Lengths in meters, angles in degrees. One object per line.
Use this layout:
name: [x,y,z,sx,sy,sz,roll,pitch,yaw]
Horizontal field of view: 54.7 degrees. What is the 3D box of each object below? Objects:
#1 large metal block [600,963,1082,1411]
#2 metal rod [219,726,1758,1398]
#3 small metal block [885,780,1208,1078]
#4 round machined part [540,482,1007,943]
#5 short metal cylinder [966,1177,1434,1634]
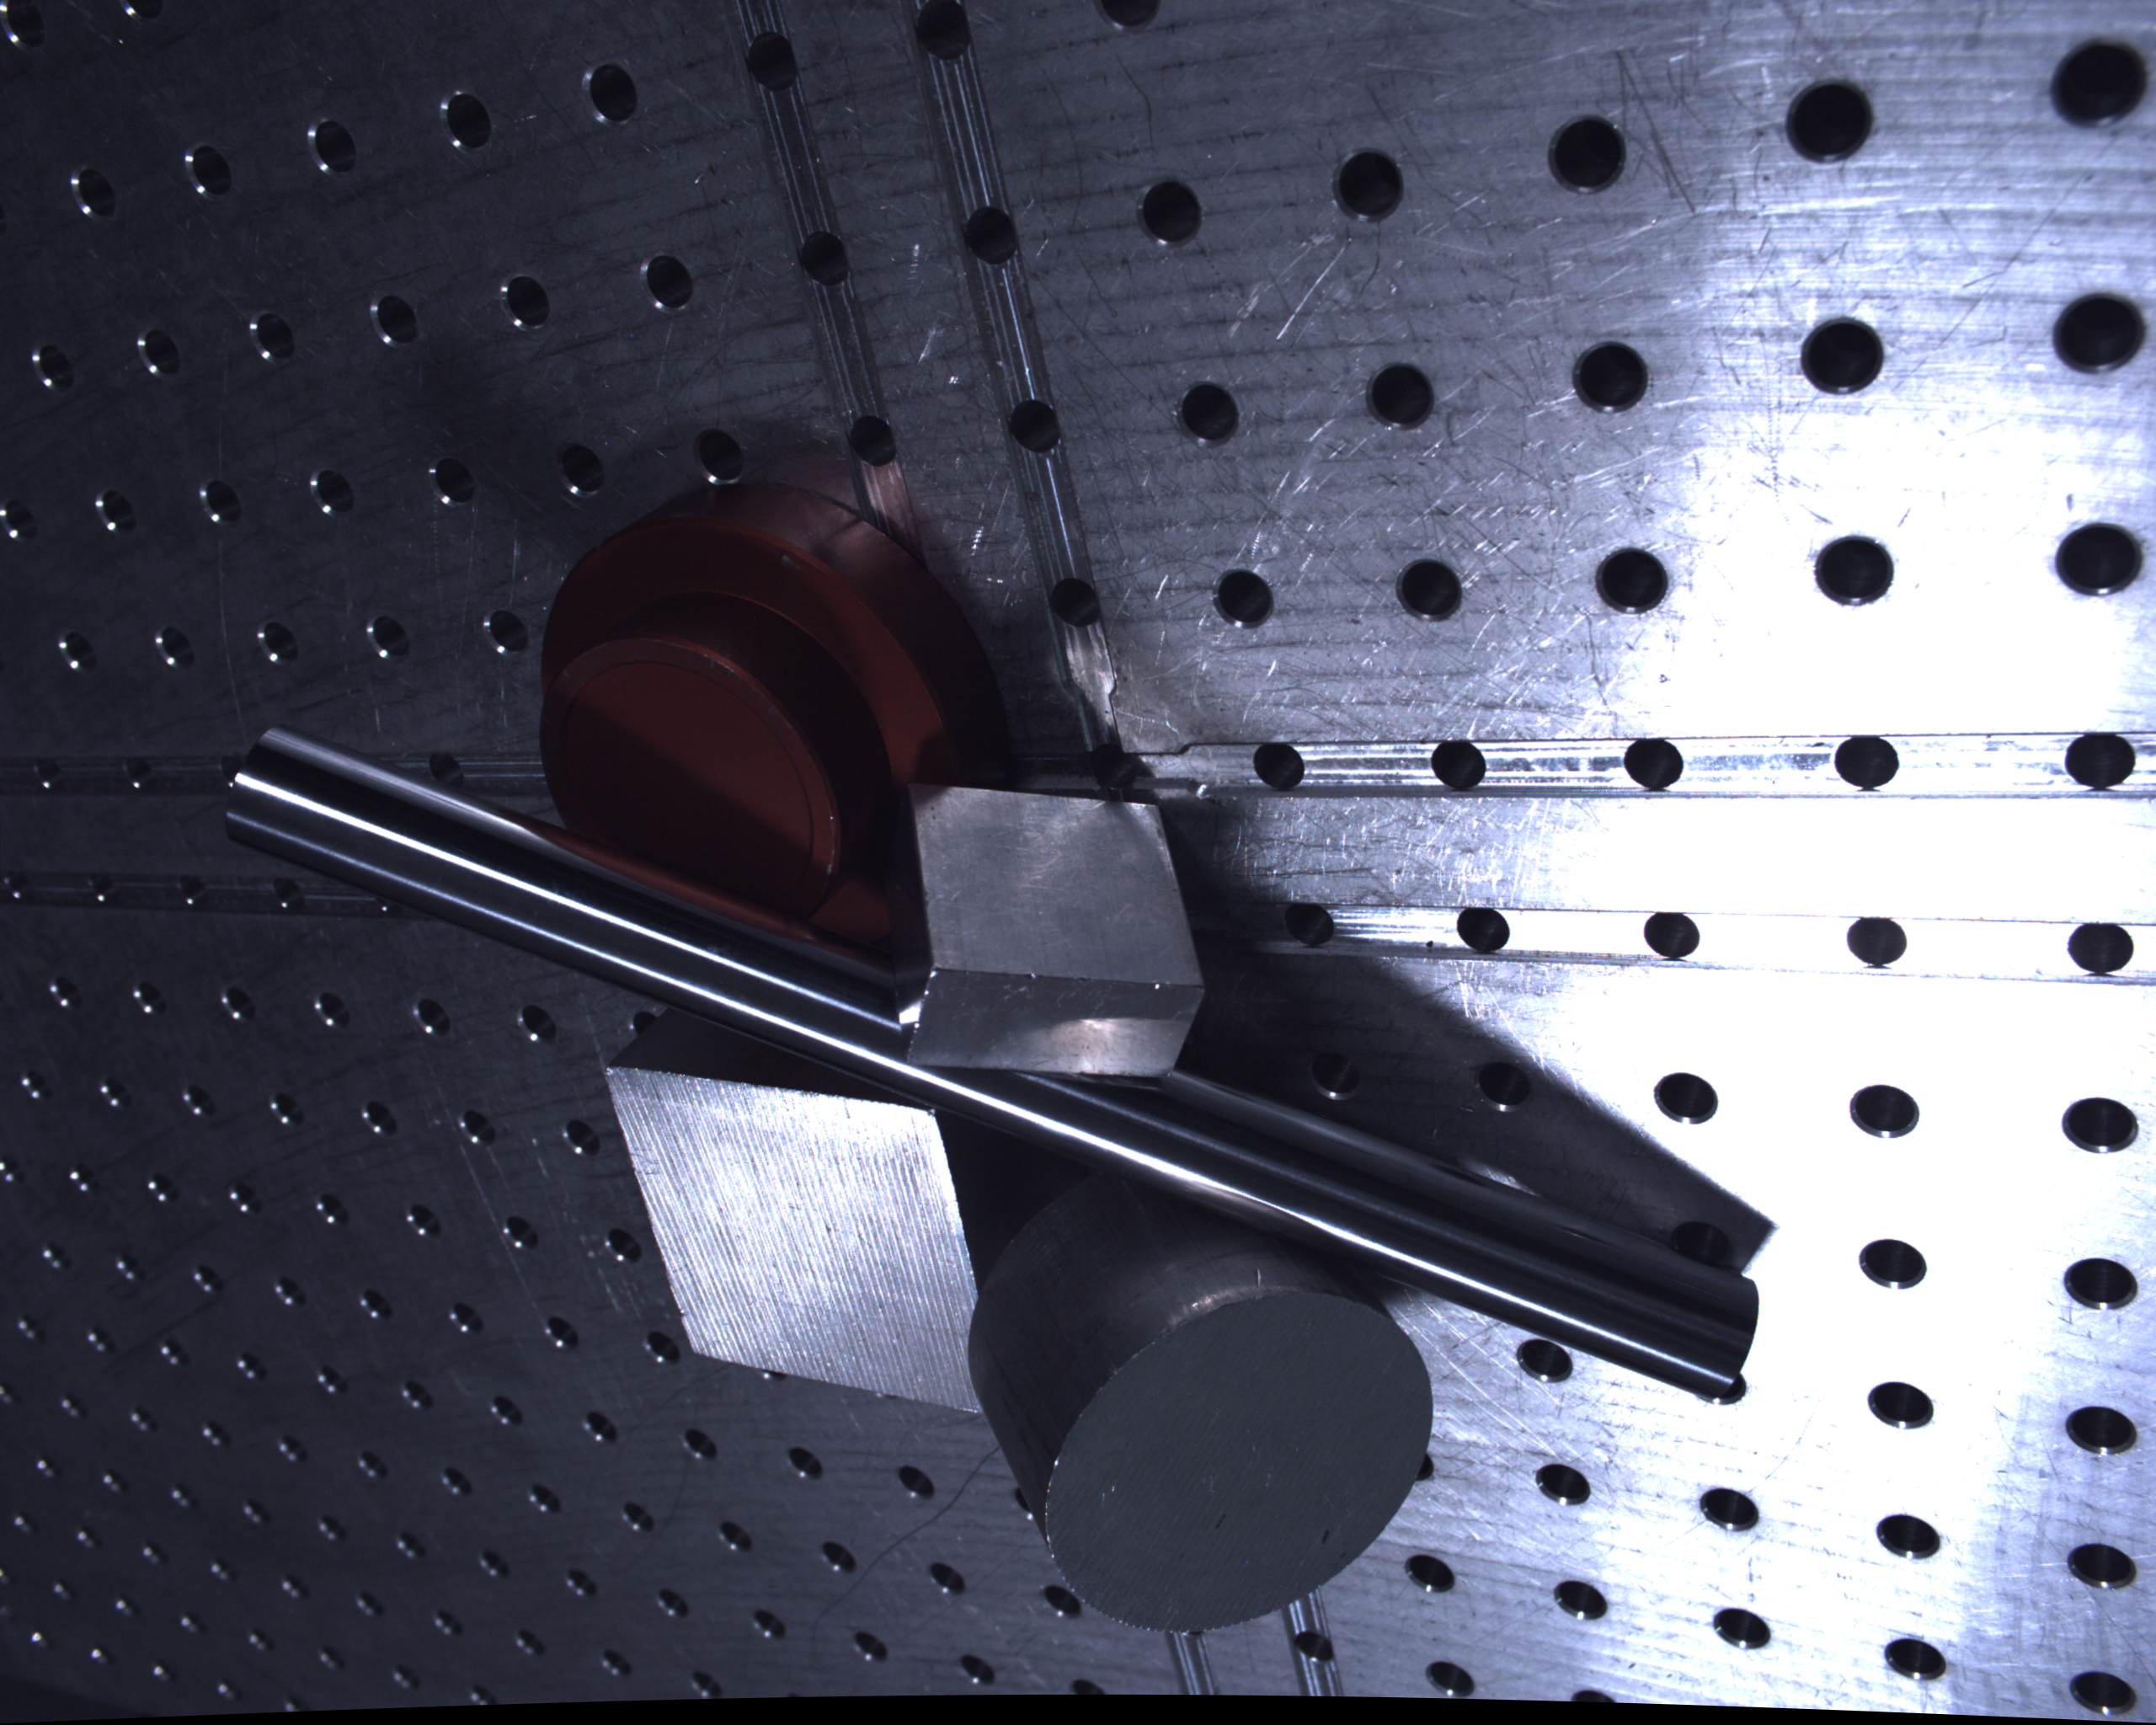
large metal block: [-0.047,0.067,0.457,0.080,0.050,0.079,5,121,25]
metal rod: [-0.016,0.038,0.400,0.301,0.025,0.025,21,127,-1]
small metal block: [-0.007,0.012,0.393,0.050,0.050,0.025,5,131,-15]
round machined part: [-0.067,-0.023,0.420,0.098,0.042,0.097,13,124,20]
short metal cylinder: [0.024,0.106,0.419,0.081,0.050,0.079,-9,116,-18]
